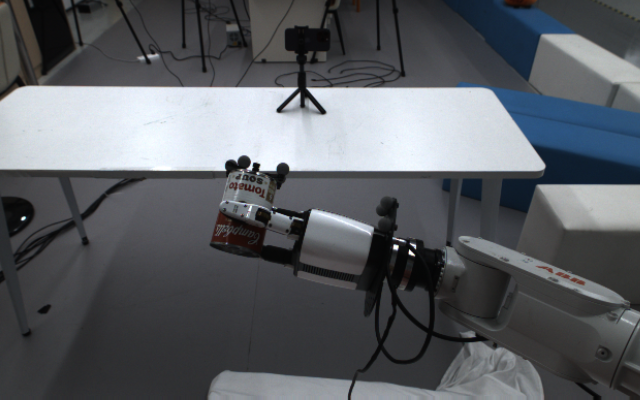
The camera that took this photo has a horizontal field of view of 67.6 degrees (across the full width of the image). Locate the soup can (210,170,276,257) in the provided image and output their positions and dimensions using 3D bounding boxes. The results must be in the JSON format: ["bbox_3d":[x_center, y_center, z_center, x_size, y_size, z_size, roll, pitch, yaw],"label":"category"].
[{"bbox_3d":[-0.098,0.018,0.636,0.067,0.067,0.101,9,74,9],"label":"soup can"}]
